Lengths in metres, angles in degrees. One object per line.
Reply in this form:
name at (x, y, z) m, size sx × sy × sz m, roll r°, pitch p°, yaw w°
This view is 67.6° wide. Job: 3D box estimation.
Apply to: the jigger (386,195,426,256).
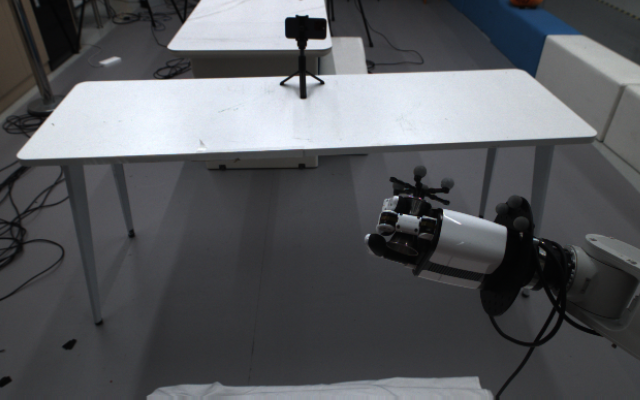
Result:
jigger at (0.119, 0.032, 0.635) m, size 0.043 × 0.043 × 0.071 m, roll 15°, pitch 70°, yaw 18°
